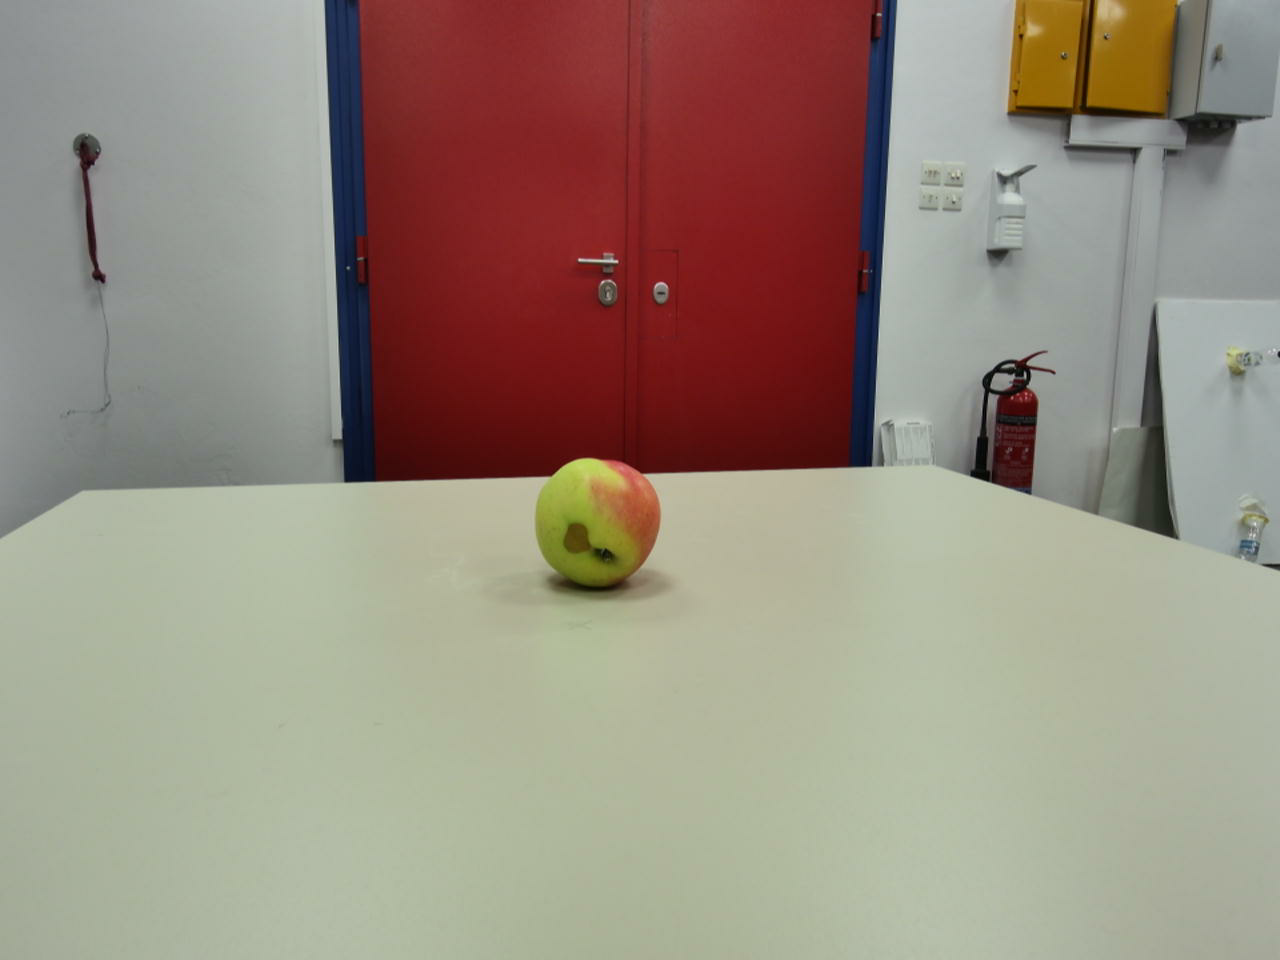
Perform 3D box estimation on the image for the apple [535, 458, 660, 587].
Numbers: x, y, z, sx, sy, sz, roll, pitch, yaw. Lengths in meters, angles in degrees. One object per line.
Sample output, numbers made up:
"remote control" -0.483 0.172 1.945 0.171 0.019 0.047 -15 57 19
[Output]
"apple" -0.025 0.025 0.592 0.075 0.074 0.075 -4 9 -32
